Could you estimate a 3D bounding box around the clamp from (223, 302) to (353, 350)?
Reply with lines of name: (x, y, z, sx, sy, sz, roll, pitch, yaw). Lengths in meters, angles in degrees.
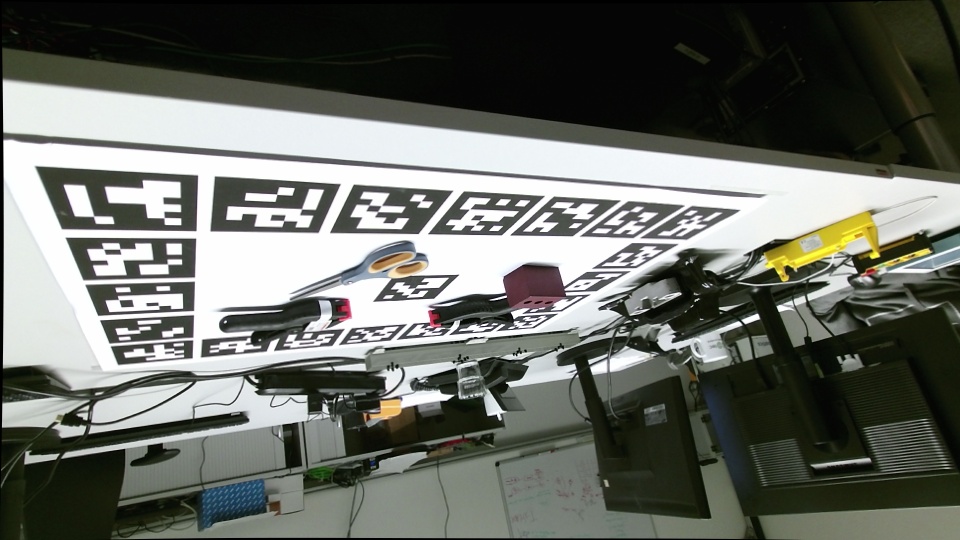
clamp: (-0.268, 0.080, 0.784, 0.166, 0.036, 0.122, -13, 152, -4)

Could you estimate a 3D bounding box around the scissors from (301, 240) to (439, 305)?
scissors: (-0.151, 0.013, 0.701, 0.203, 0.016, 0.088, -20, 150, 18)

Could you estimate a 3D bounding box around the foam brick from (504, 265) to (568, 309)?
foam brick: (0.090, 0.026, 0.850, 0.078, 0.051, 0.053, -2, 155, -39)

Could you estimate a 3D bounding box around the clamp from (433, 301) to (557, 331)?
clamp: (0.014, 0.080, 0.951, 0.203, 0.036, 0.165, -2, 159, -26)
